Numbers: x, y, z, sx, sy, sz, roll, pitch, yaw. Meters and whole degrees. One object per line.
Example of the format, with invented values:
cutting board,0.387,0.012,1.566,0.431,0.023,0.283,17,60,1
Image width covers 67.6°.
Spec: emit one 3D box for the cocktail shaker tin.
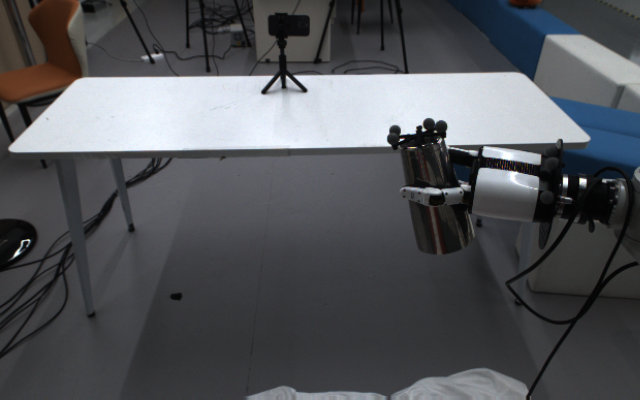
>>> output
cocktail shaker tin,0.175,-0.014,0.743,0.093,0.170,0.093,-17,20,7
